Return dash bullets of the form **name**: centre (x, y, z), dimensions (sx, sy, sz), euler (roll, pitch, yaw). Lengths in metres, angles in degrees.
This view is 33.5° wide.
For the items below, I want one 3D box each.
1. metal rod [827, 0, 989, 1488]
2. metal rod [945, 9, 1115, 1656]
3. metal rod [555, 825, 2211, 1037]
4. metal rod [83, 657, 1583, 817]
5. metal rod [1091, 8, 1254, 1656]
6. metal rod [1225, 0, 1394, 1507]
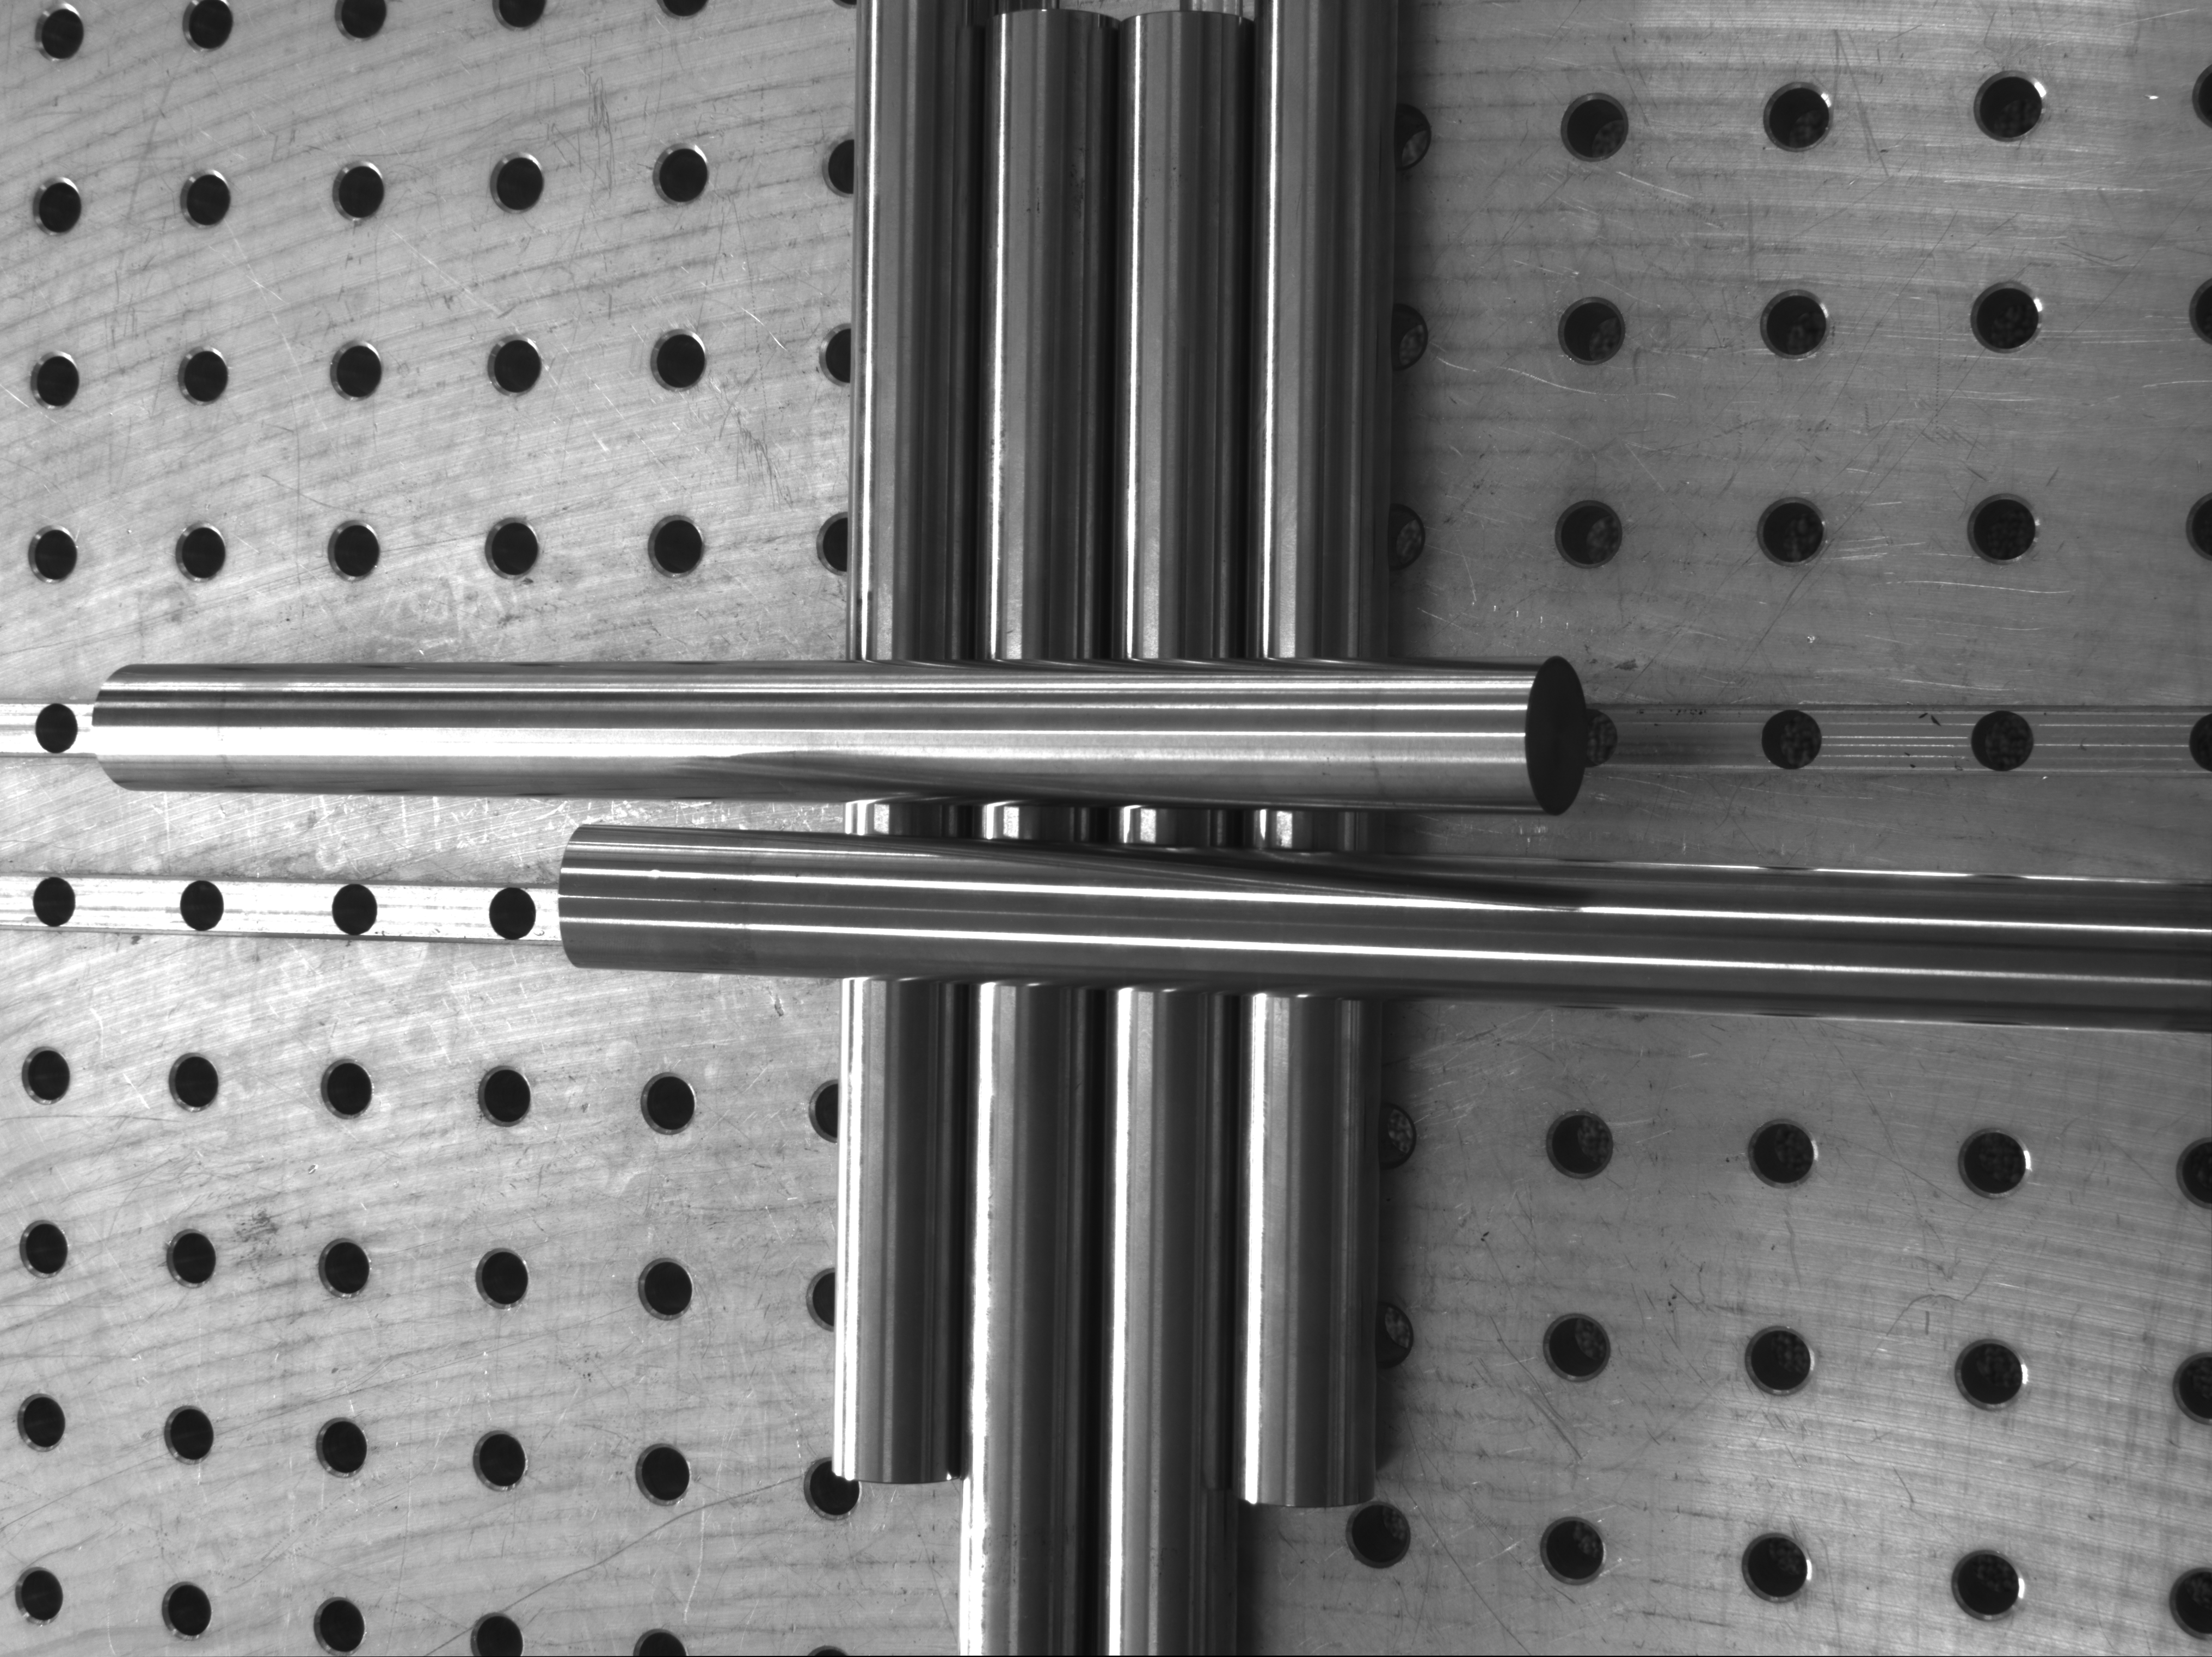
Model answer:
- **metal rod**: centre (-0.035, -0.033, 0.662), dimensions (0.025, 0.025, 0.300), euler (1, 90, 20)
- **metal rod**: centre (-0.013, 0.007, 0.653), dimensions (0.025, 0.025, 0.300), euler (1, 90, 20)
- **metal rod**: centre (0.056, 0.017, 0.607), dimensions (0.300, 0.025, 0.025), euler (2, 91, 11)
- **metal rod**: centre (-0.061, -0.017, 0.647), dimensions (0.299, 0.025, 0.025), euler (1, 90, 29)
- **metal rod**: centre (0.012, 0.009, 0.646), dimensions (0.025, 0.025, 0.300), euler (1, 90, 20)
- **metal rod**: centre (0.036, -0.035, 0.636), dimensions (0.025, 0.025, 0.300), euler (1, 90, 20)
